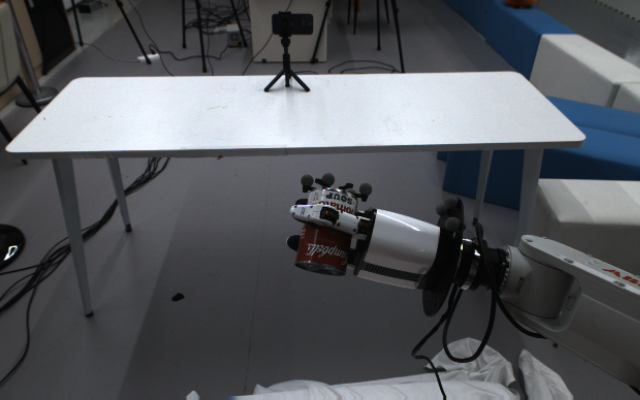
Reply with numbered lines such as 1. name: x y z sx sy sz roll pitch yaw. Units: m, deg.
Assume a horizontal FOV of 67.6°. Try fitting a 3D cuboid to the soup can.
1. soup can: 0.011 0.042 0.629 0.067 0.067 0.101 8 72 9
